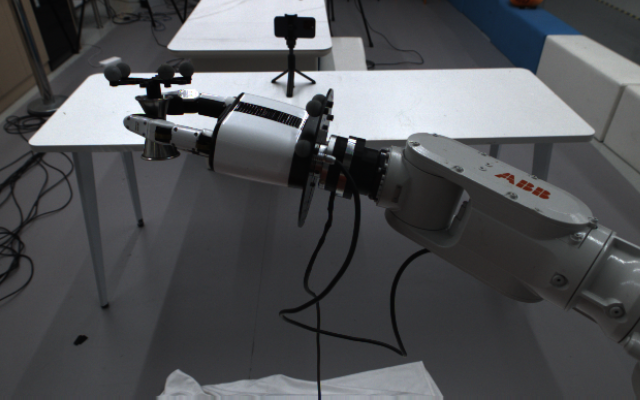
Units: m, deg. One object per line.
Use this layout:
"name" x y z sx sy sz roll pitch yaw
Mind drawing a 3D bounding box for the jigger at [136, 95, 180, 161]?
"jigger" -0.188 -0.083 0.552 0.043 0.071 0.043 0 22 0
